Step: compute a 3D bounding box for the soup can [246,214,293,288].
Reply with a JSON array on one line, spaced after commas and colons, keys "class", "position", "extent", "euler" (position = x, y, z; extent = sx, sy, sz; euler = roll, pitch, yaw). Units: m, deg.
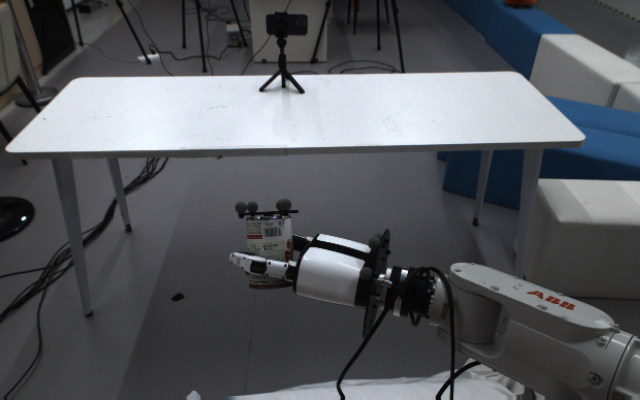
[{"class": "soup can", "position": [-0.072, 0.075, 0.704], "extent": [0.067, 0.101, 0.067], "euler": [-3, -1, 0]}]
